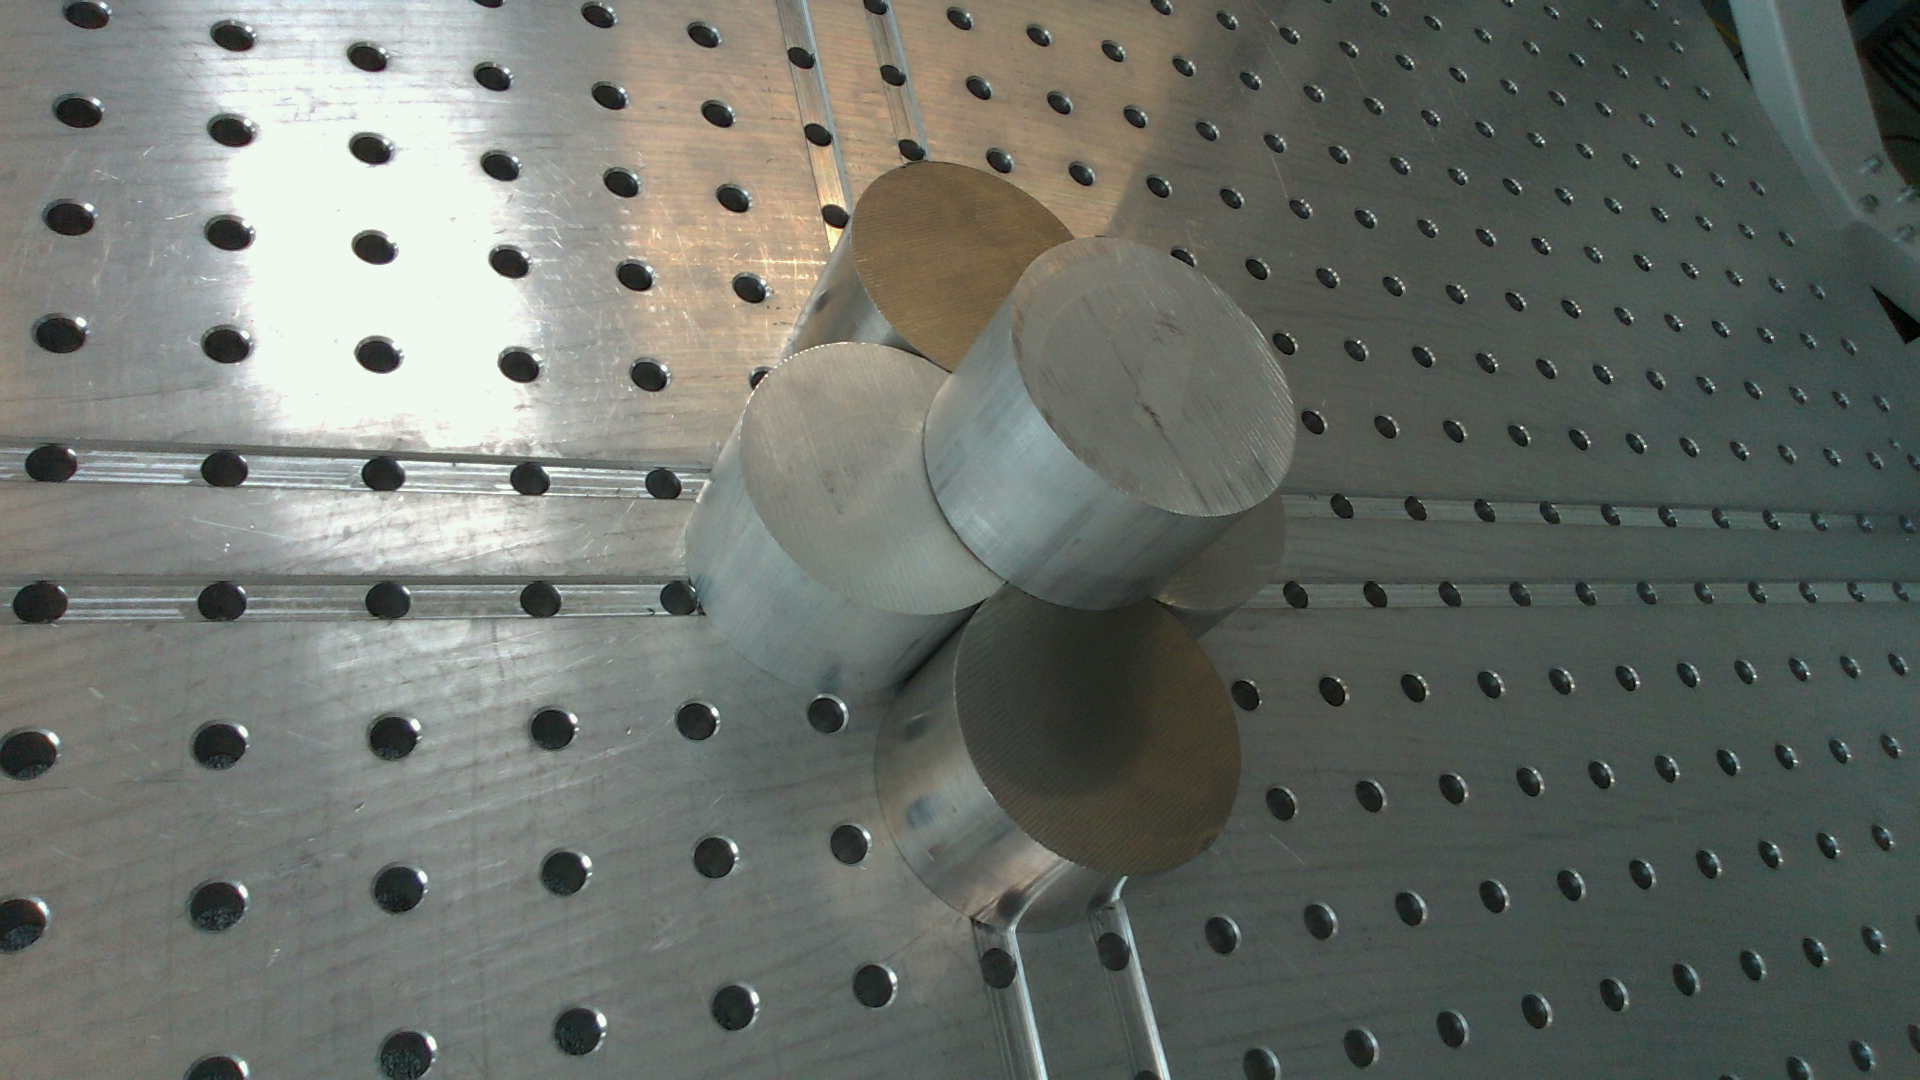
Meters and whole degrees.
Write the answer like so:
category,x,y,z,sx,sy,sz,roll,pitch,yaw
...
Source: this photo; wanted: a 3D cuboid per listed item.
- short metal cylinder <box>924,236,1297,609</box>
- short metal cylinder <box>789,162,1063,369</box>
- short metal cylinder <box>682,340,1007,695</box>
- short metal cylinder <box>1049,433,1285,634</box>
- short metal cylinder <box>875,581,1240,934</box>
category,x,y,z,sx,sy,sz,roll,pitch,yaw
short metal cylinder,0.037,-0.029,0.349,0.080,0.050,0.080,14,56,-21
short metal cylinder,-0.005,-0.065,0.414,0.080,0.050,0.080,14,56,-21
short metal cylinder,-0.028,-0.006,0.365,0.080,0.050,0.080,14,56,-21
short metal cylinder,0.047,-0.005,0.405,0.080,0.050,0.080,14,56,-21
short metal cylinder,0.024,0.055,0.356,0.080,0.050,0.080,14,54,-20
